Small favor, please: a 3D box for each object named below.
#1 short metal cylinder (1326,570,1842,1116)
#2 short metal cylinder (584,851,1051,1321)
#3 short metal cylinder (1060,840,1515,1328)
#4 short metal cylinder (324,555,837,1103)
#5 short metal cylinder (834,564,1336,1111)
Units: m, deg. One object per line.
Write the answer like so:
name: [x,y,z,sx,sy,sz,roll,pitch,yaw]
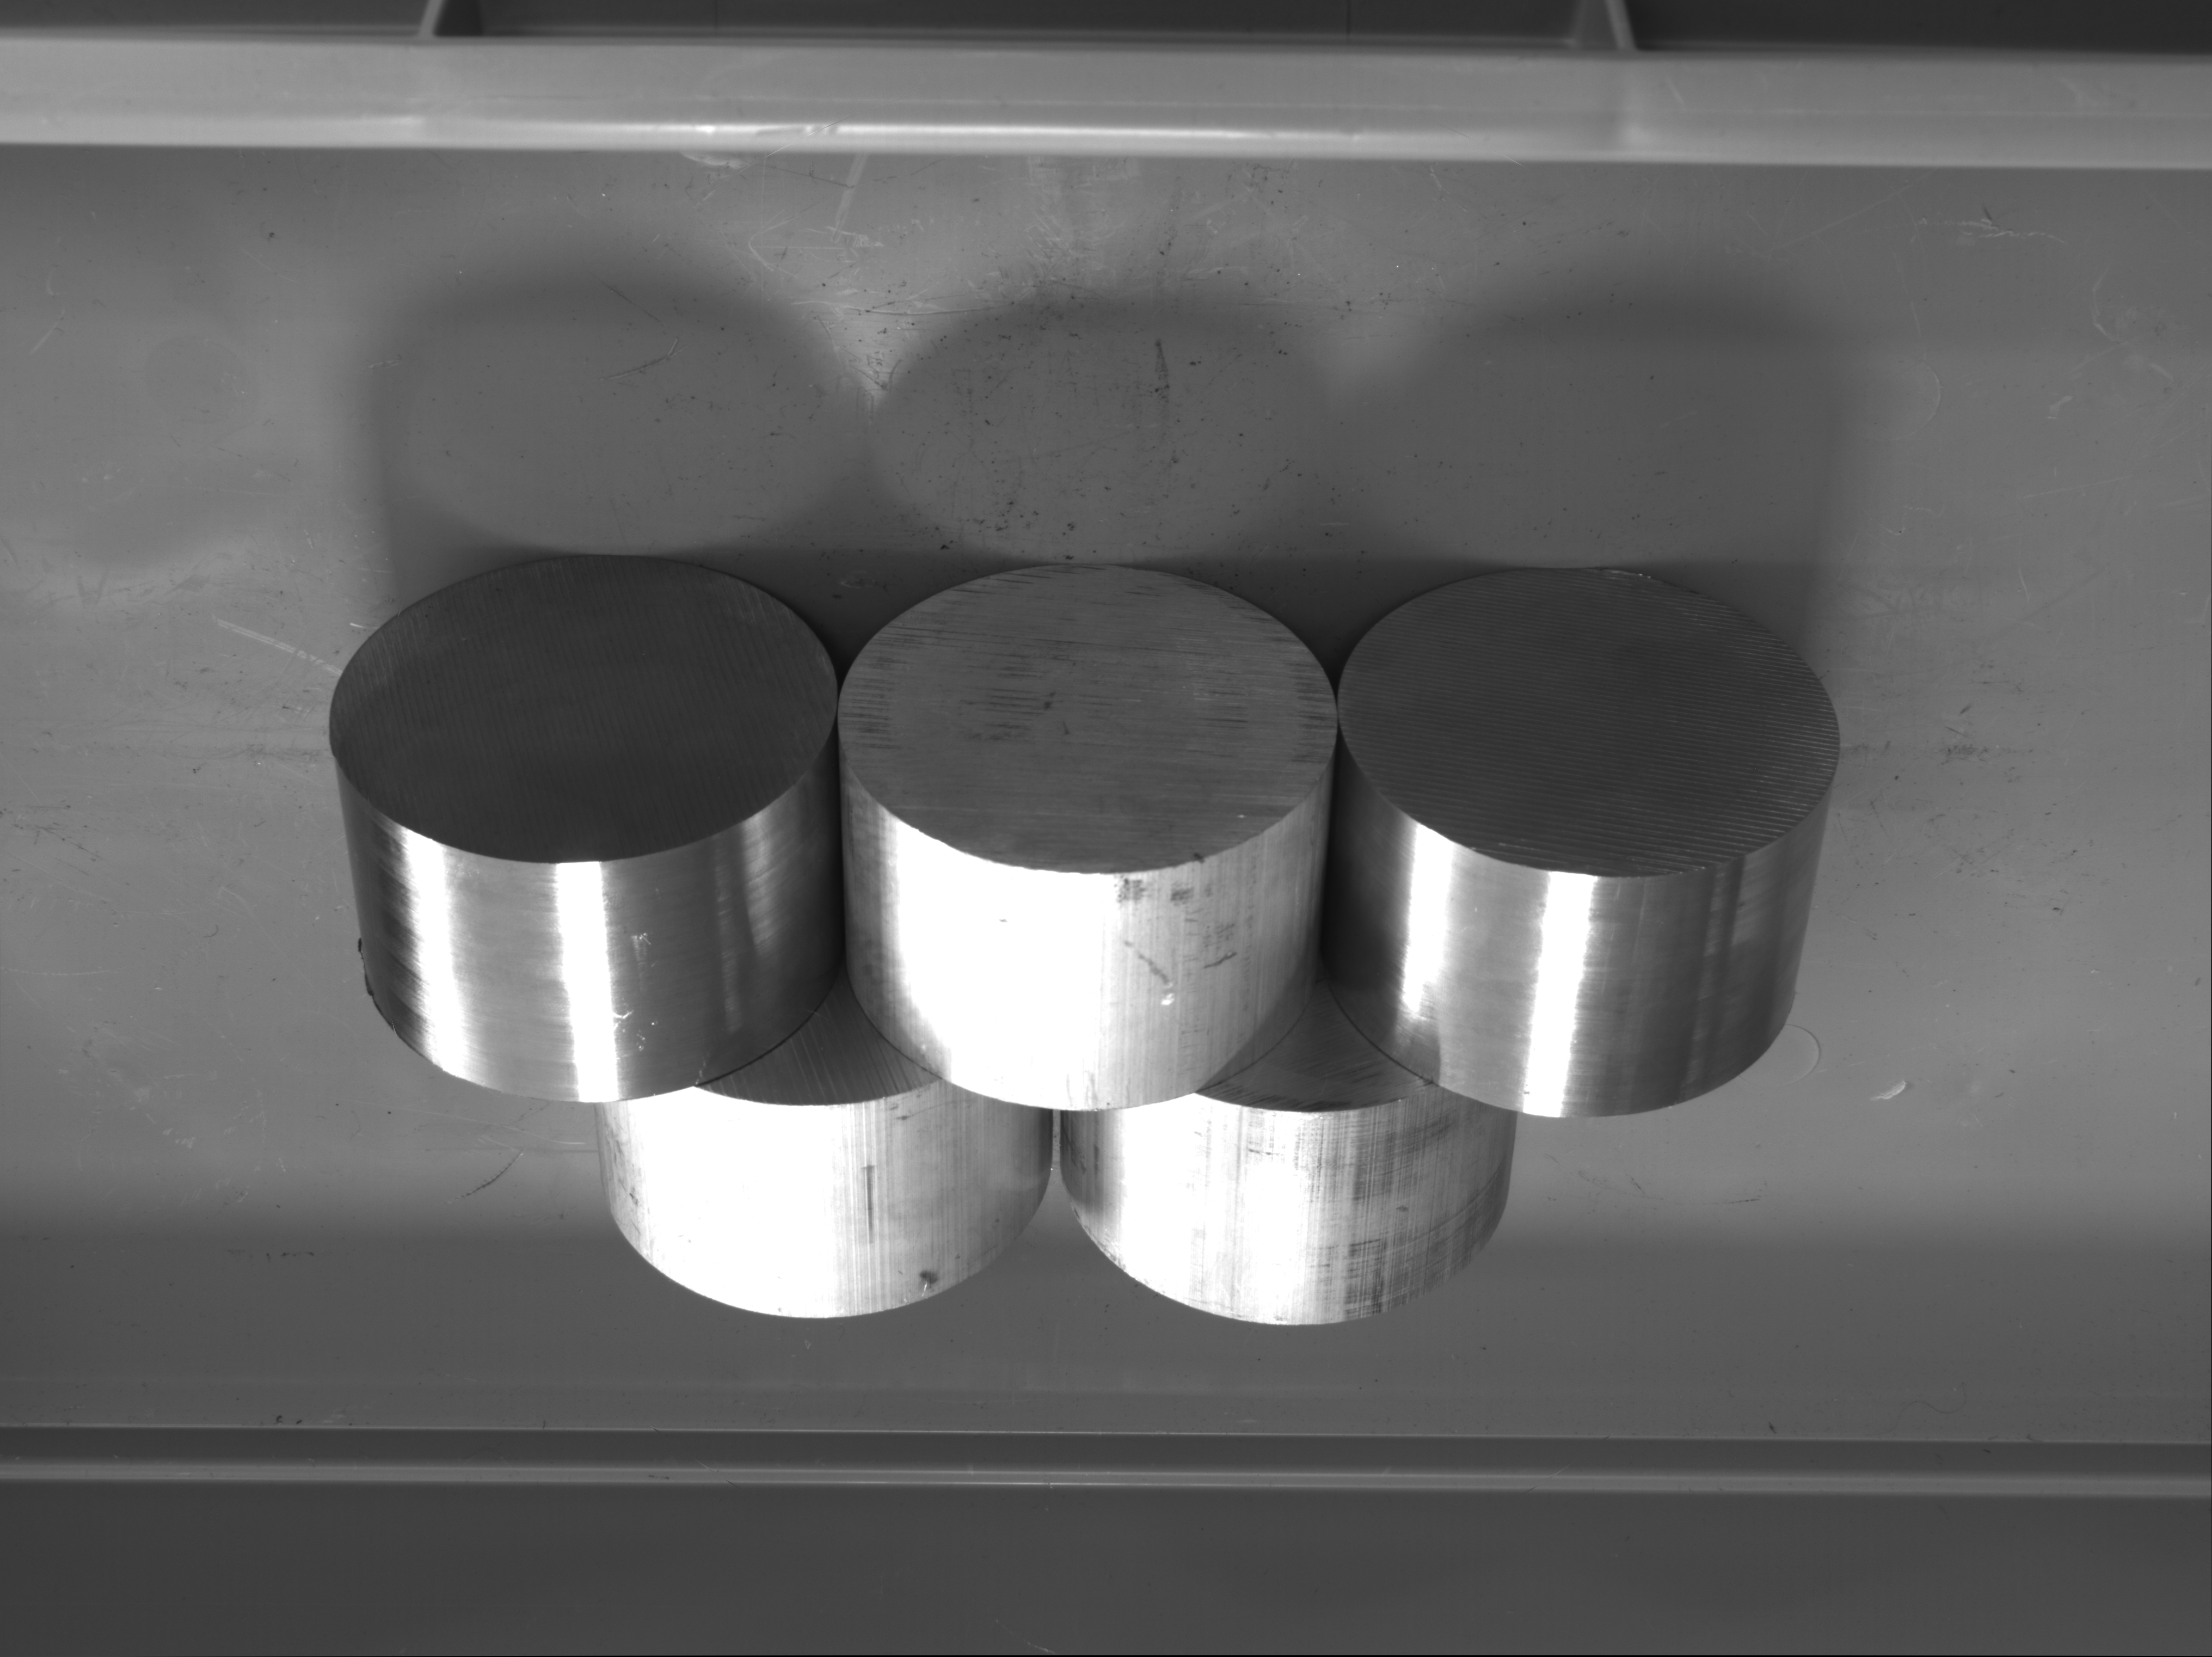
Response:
short metal cylinder: [0.077,0.001,0.603,0.080,0.080,0.050,1,130,-1]
short metal cylinder: [-0.049,0.038,0.633,0.080,0.080,0.050,1,130,0]
short metal cylinder: [0.032,0.040,0.635,0.080,0.080,0.050,1,130,0]
short metal cylinder: [-0.084,-0.001,0.600,0.080,0.080,0.050,1,130,0]
short metal cylinder: [-0.004,0.000,0.602,0.080,0.080,0.050,1,130,0]
